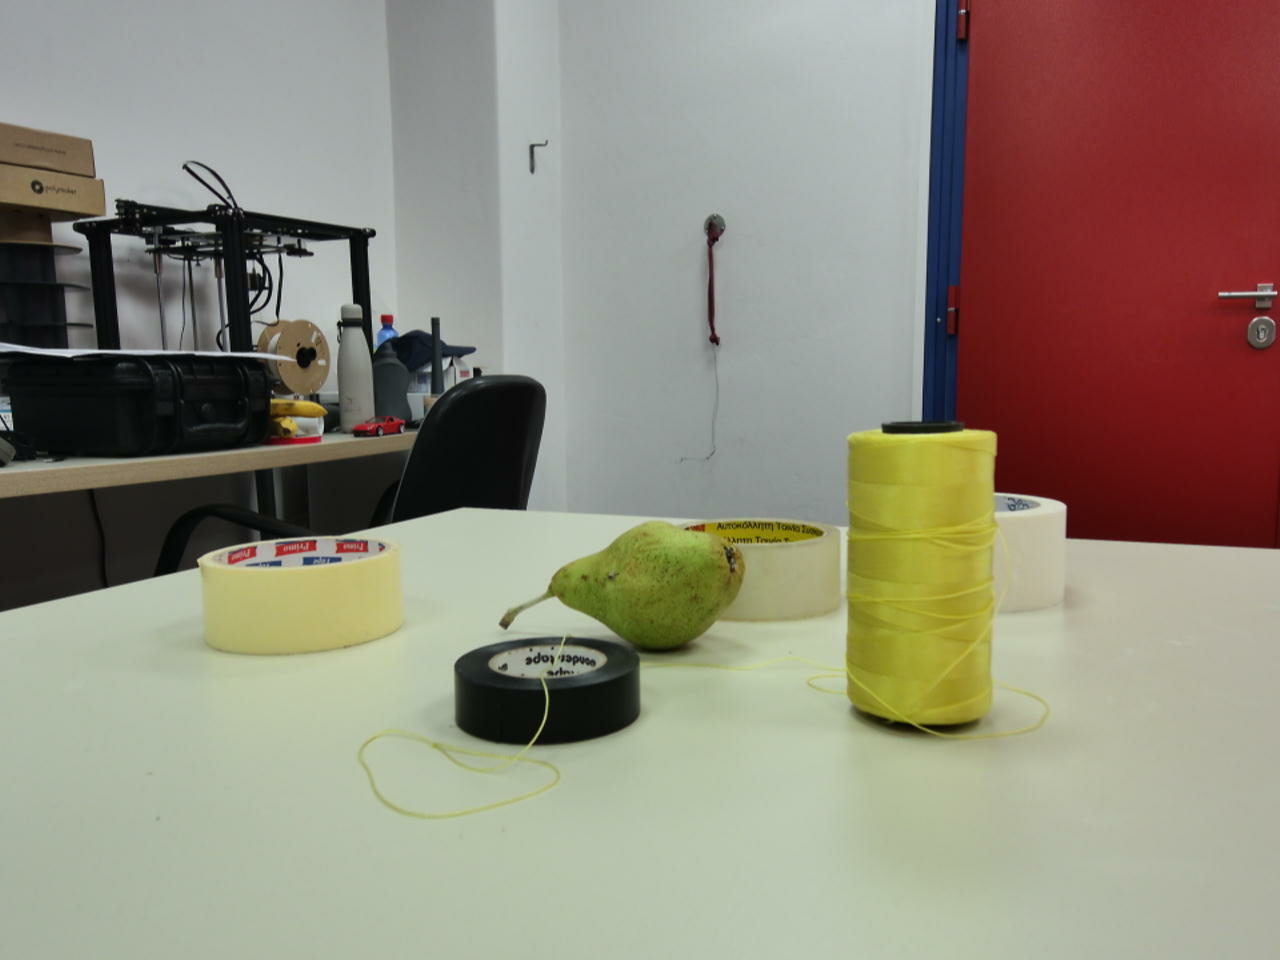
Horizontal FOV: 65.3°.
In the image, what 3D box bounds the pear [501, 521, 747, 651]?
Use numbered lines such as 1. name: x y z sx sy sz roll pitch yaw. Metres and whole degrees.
1. pear: -0.006 0.047 0.456 0.111 0.056 0.056 4 4 40
